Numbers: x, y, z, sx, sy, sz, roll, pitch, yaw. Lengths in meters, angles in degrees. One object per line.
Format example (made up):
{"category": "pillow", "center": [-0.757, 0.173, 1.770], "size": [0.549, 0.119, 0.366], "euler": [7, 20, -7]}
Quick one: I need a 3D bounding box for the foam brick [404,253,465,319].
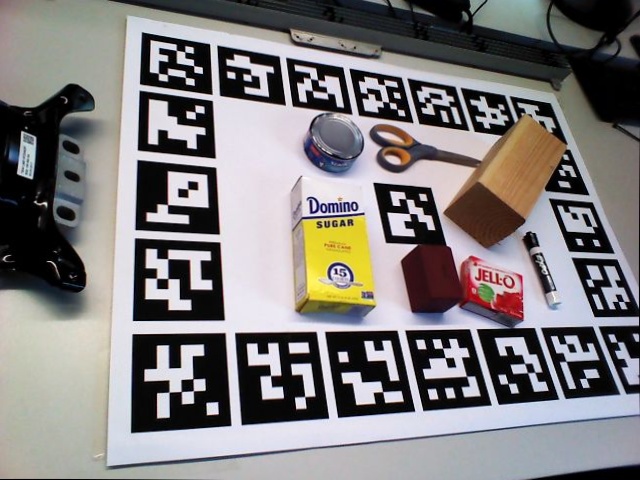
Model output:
{"category": "foam brick", "center": [0.153, 0.063, 0.696], "size": [0.052, 0.052, 0.077], "euler": [5, 63, -18]}

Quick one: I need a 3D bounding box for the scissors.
{"category": "scissors", "center": [0.177, -0.129, 0.831], "size": [0.202, 0.016, 0.087], "euler": [9, 61, -14]}

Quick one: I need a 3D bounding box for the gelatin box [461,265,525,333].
{"category": "gelatin box", "center": [0.247, 0.084, 0.738], "size": [0.089, 0.030, 0.073], "euler": [20, 59, -10]}

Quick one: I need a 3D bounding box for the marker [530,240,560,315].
{"category": "marker", "center": [0.344, 0.055, 0.794], "size": [0.019, 0.020, 0.120], "euler": [5, 65, -19]}

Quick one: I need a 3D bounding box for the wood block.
{"category": "wood block", "center": [0.305, -0.081, 0.814], "size": [0.090, 0.091, 0.205], "euler": [41, 56, 4]}

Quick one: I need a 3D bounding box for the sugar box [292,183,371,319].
{"category": "sugar box", "center": [0.012, 0.013, 0.678], "size": [0.093, 0.045, 0.175], "euler": [8, 61, -18]}

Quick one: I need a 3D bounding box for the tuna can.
{"category": "tuna can", "center": [0.019, -0.136, 0.761], "size": [0.085, 0.034, 0.085], "euler": [9, 62, -17]}
